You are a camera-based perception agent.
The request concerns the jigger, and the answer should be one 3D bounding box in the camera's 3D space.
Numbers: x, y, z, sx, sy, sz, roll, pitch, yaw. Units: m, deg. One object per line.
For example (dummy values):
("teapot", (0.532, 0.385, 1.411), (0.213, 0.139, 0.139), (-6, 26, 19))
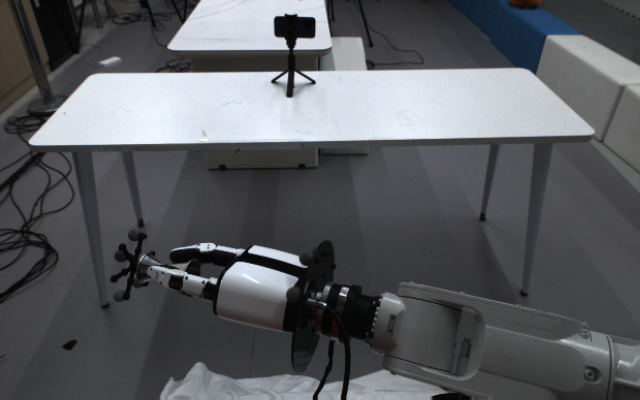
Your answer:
("jigger", (-0.189, 0.091, 0.625), (0.071, 0.043, 0.043), (7, 35, 14))
